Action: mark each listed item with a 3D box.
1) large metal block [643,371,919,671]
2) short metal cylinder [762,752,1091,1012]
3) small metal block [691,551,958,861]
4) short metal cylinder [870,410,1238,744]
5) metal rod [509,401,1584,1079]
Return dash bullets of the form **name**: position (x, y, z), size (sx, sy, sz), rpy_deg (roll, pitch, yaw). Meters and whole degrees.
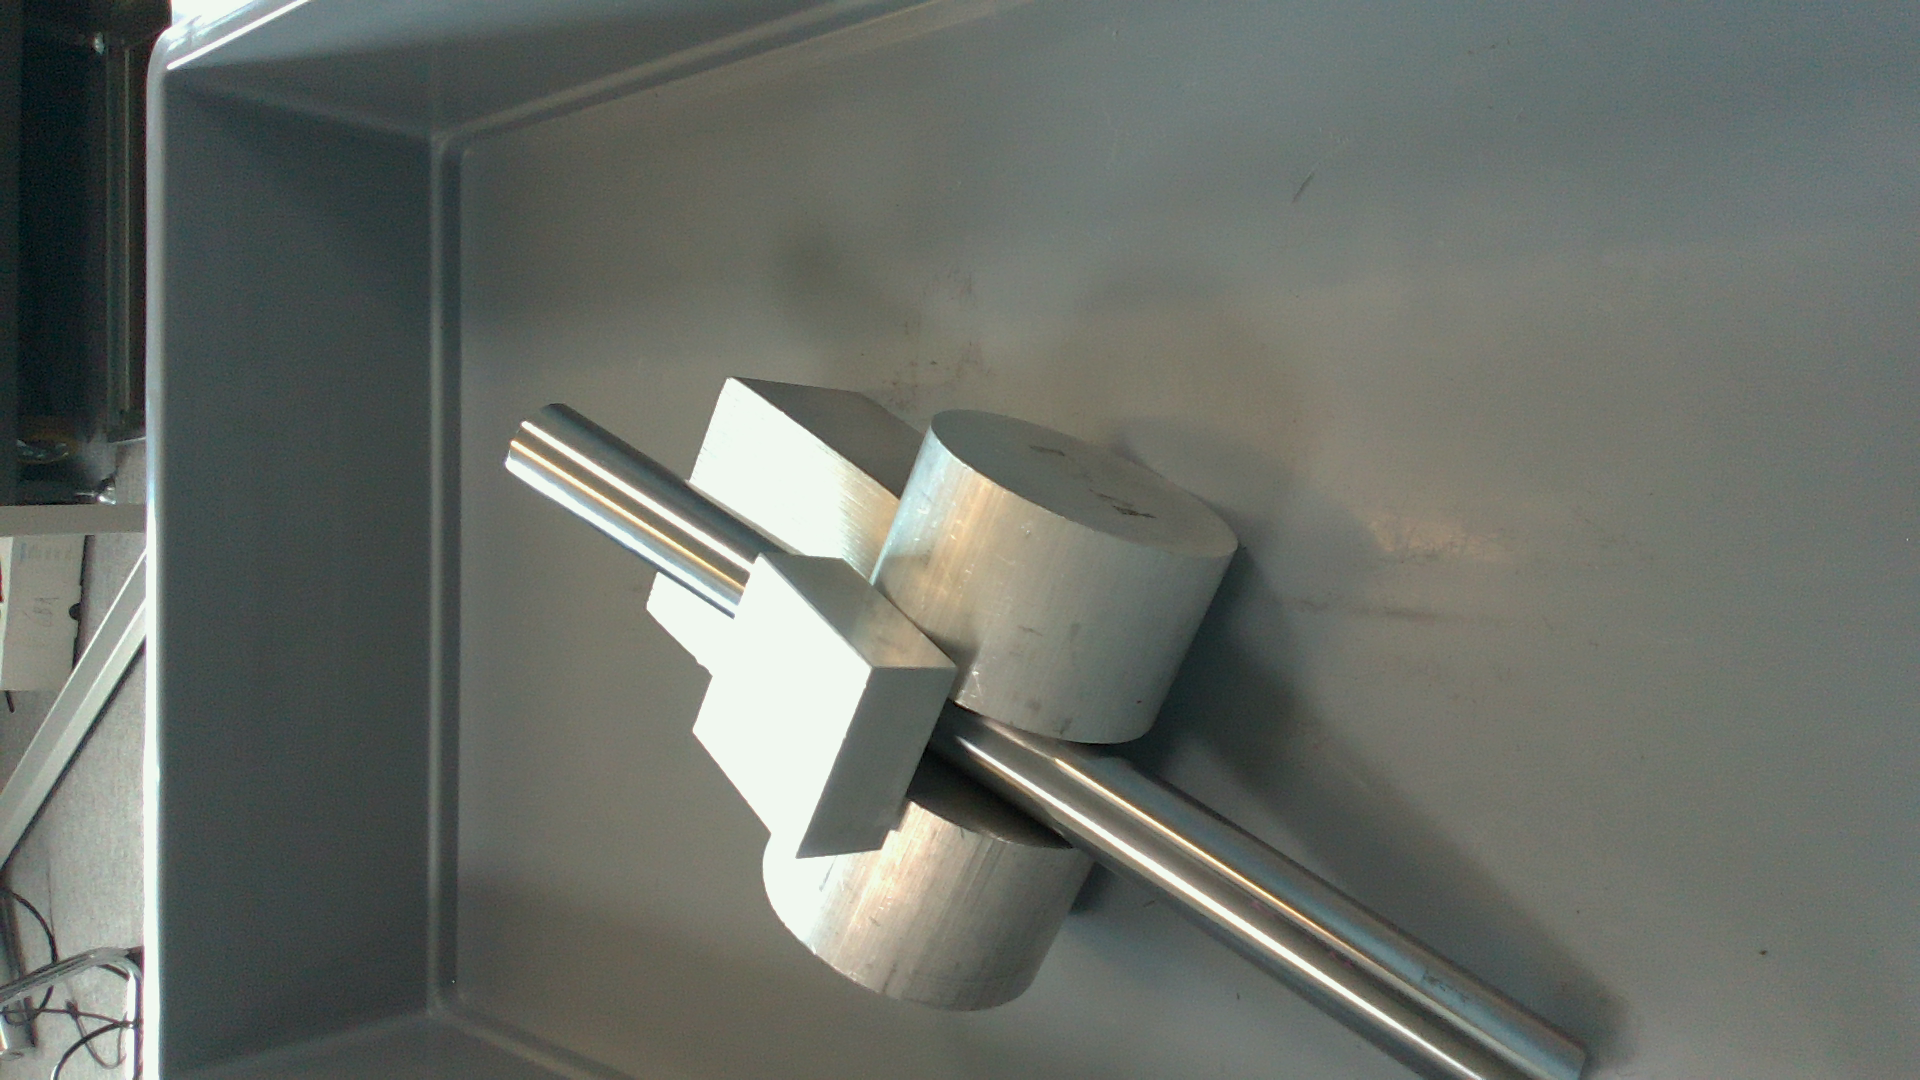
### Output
- **large metal block**: position (-0.040, 0.006, 0.408), size (0.080, 0.050, 0.080), rpy_deg (36, 112, 34)
- **short metal cylinder**: position (-0.006, 0.076, 0.362), size (0.080, 0.080, 0.050), rpy_deg (37, 113, 34)
- **small metal block**: position (-0.033, 0.037, 0.318), size (0.050, 0.025, 0.050), rpy_deg (40, 115, 42)
- **short metal cylinder**: position (0.021, 0.007, 0.340), size (0.080, 0.080, 0.050), rpy_deg (35, 111, 35)
- **metal rod**: position (0.003, 0.044, 0.339), size (0.299, 0.025, 0.025), rpy_deg (31, 110, 19)
